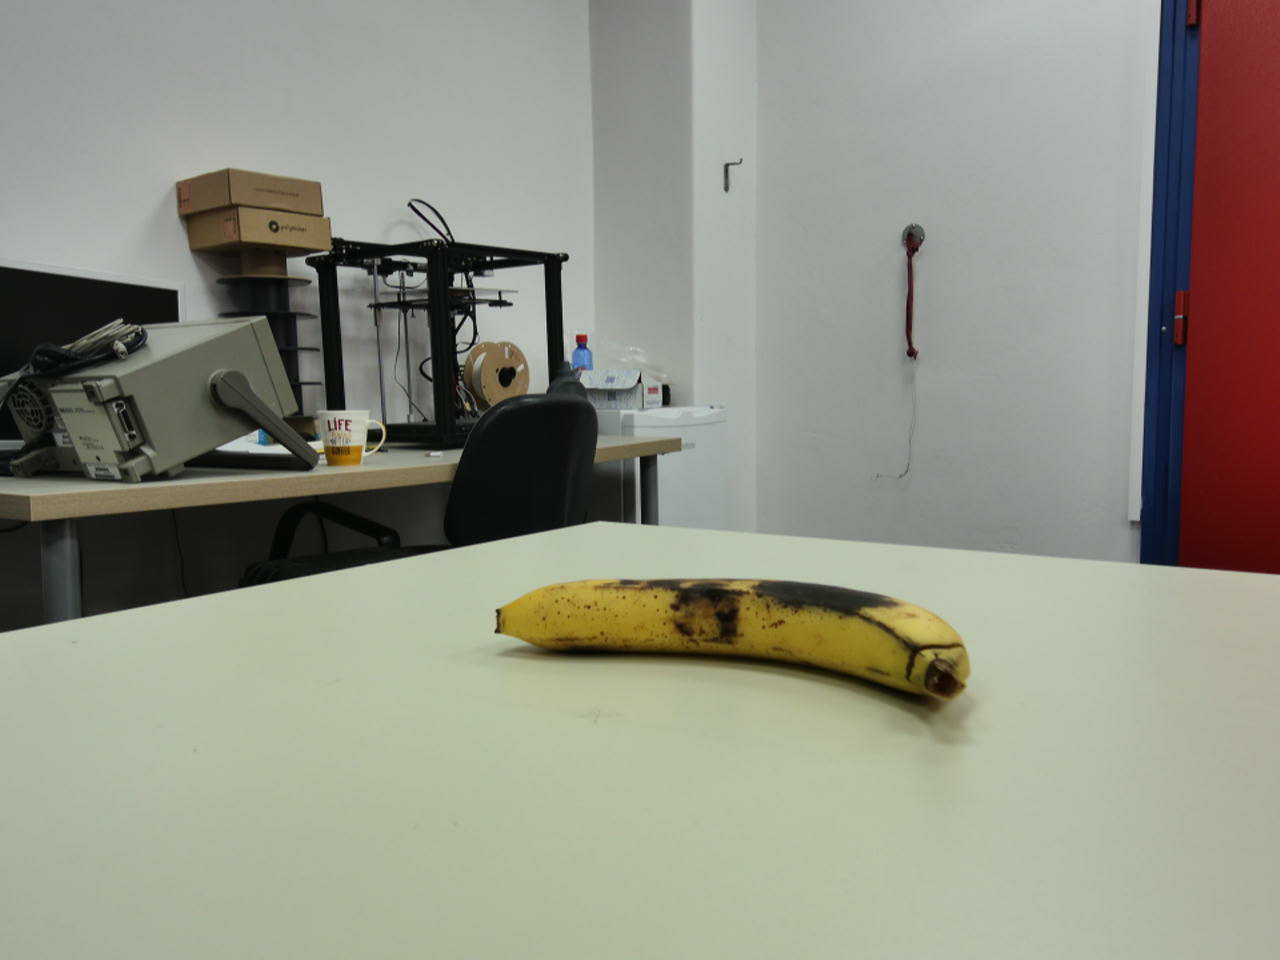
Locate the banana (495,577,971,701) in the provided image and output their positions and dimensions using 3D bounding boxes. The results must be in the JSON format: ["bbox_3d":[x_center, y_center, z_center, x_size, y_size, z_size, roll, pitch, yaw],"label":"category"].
[{"bbox_3d":[0.043,0.064,0.435,0.222,0.037,0.084,3,4,38],"label":"banana"}]
